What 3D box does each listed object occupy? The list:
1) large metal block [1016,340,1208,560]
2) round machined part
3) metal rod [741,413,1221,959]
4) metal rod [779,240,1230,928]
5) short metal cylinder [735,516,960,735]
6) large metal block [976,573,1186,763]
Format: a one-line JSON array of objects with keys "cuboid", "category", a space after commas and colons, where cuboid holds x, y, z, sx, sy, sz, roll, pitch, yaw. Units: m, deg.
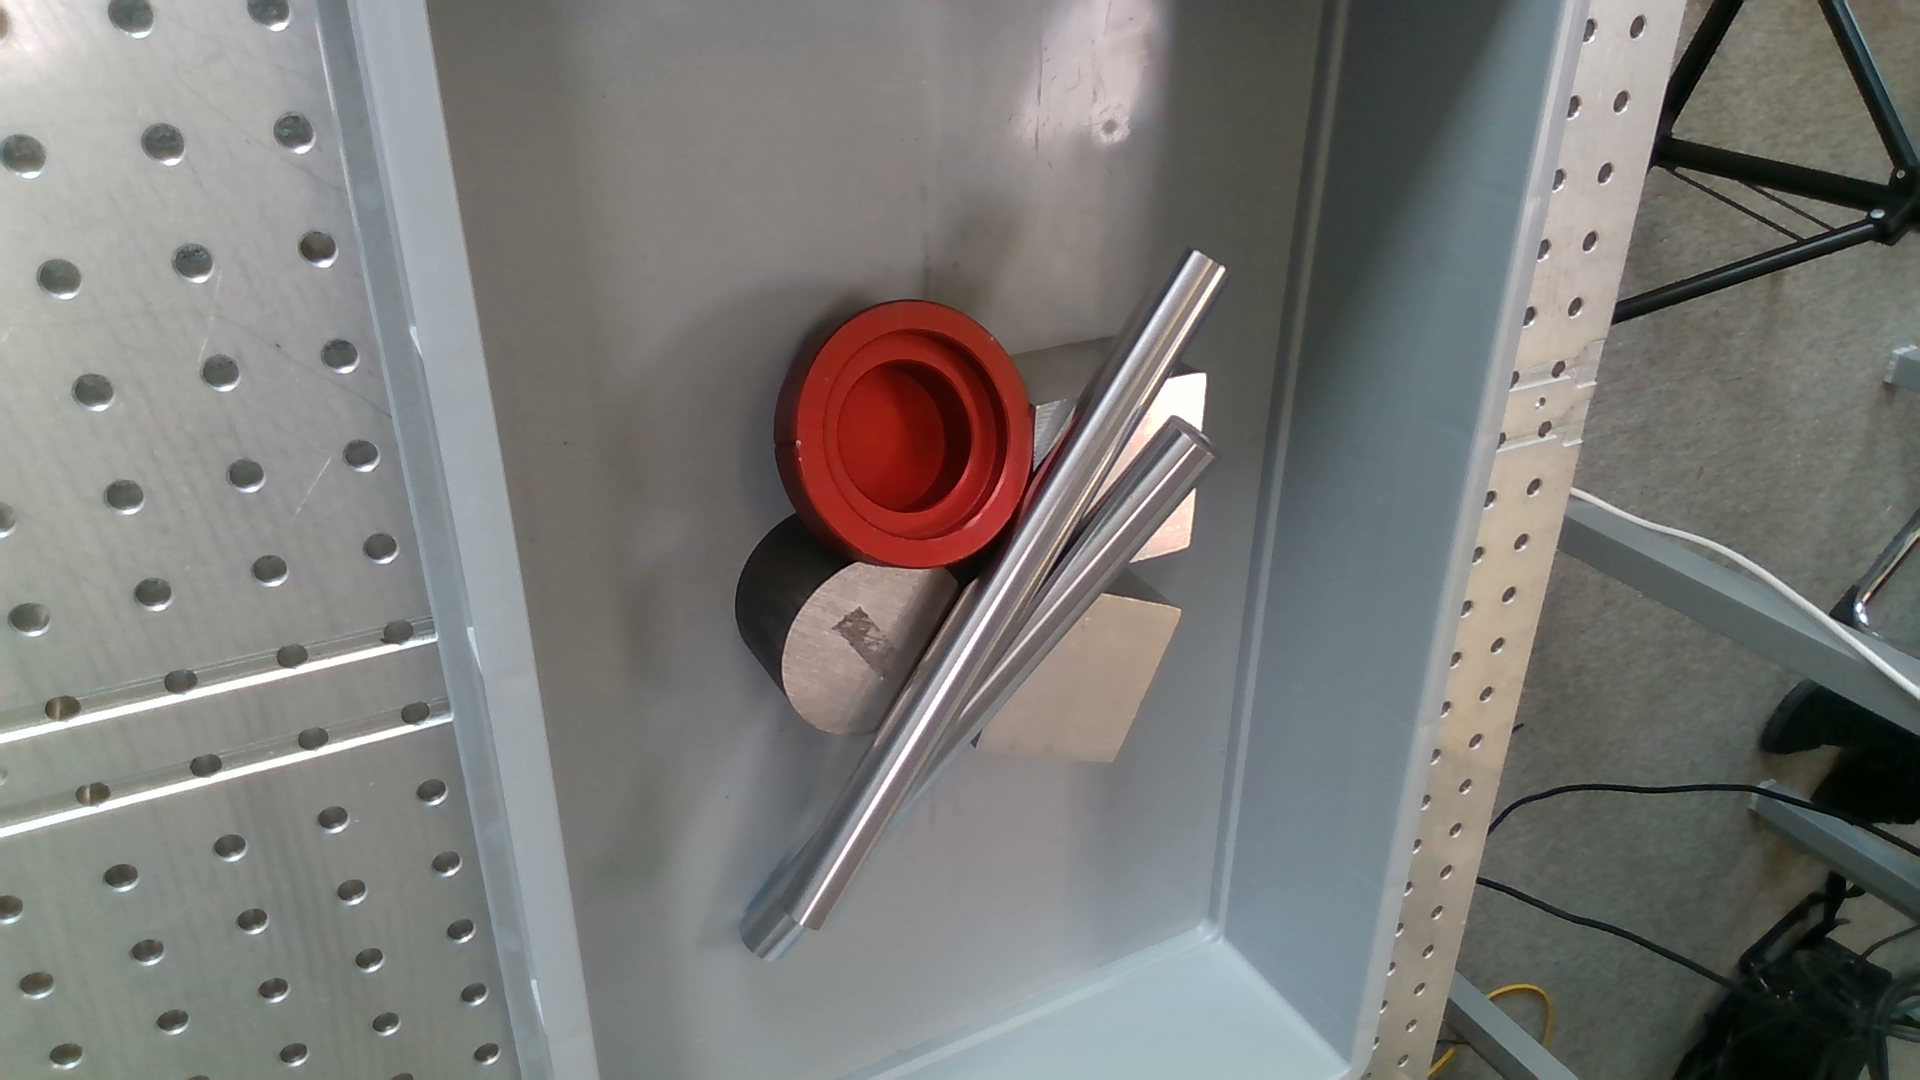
[{"cuboid": [0.052, -0.034, 0.573, 0.080, 0.050, 0.080, -14, 121, -25], "category": "large metal block"}, {"cuboid": [-0.025, -0.039, 0.518, 0.098, 0.042, 0.098, -1, 91, -29], "category": "round machined part"}, {"cuboid": [0.000, 0.070, 0.569, 0.025, 0.025, 0.300, 22, 116, -38], "category": "metal rod"}, {"cuboid": [0.013, 0.023, 0.534, 0.025, 0.025, 0.300, 23, 102, -38], "category": "metal rod"}, {"cuboid": [-0.044, 0.031, 0.552, 0.080, 0.050, 0.080, -14, 122, -25], "category": "short metal cylinder"}, {"cuboid": [0.041, 0.049, 0.614, 0.080, 0.050, 0.080, 11, 109, -35], "category": "large metal block"}]
